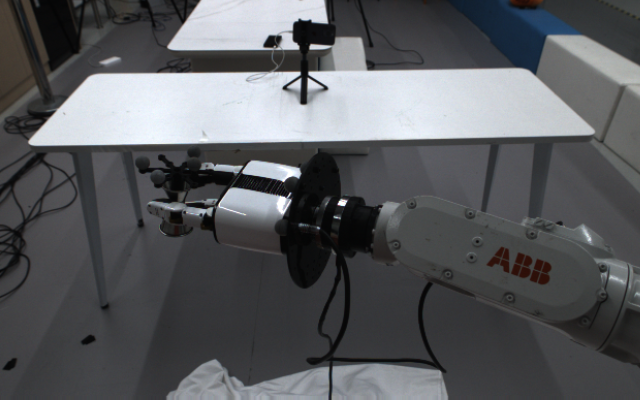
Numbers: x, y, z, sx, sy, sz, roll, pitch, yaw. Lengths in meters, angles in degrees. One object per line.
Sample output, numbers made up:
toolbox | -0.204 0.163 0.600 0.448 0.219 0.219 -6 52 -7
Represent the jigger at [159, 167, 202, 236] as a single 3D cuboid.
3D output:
jigger | -0.184 0.009 0.623 0.043 0.071 0.043 8 30 -5
